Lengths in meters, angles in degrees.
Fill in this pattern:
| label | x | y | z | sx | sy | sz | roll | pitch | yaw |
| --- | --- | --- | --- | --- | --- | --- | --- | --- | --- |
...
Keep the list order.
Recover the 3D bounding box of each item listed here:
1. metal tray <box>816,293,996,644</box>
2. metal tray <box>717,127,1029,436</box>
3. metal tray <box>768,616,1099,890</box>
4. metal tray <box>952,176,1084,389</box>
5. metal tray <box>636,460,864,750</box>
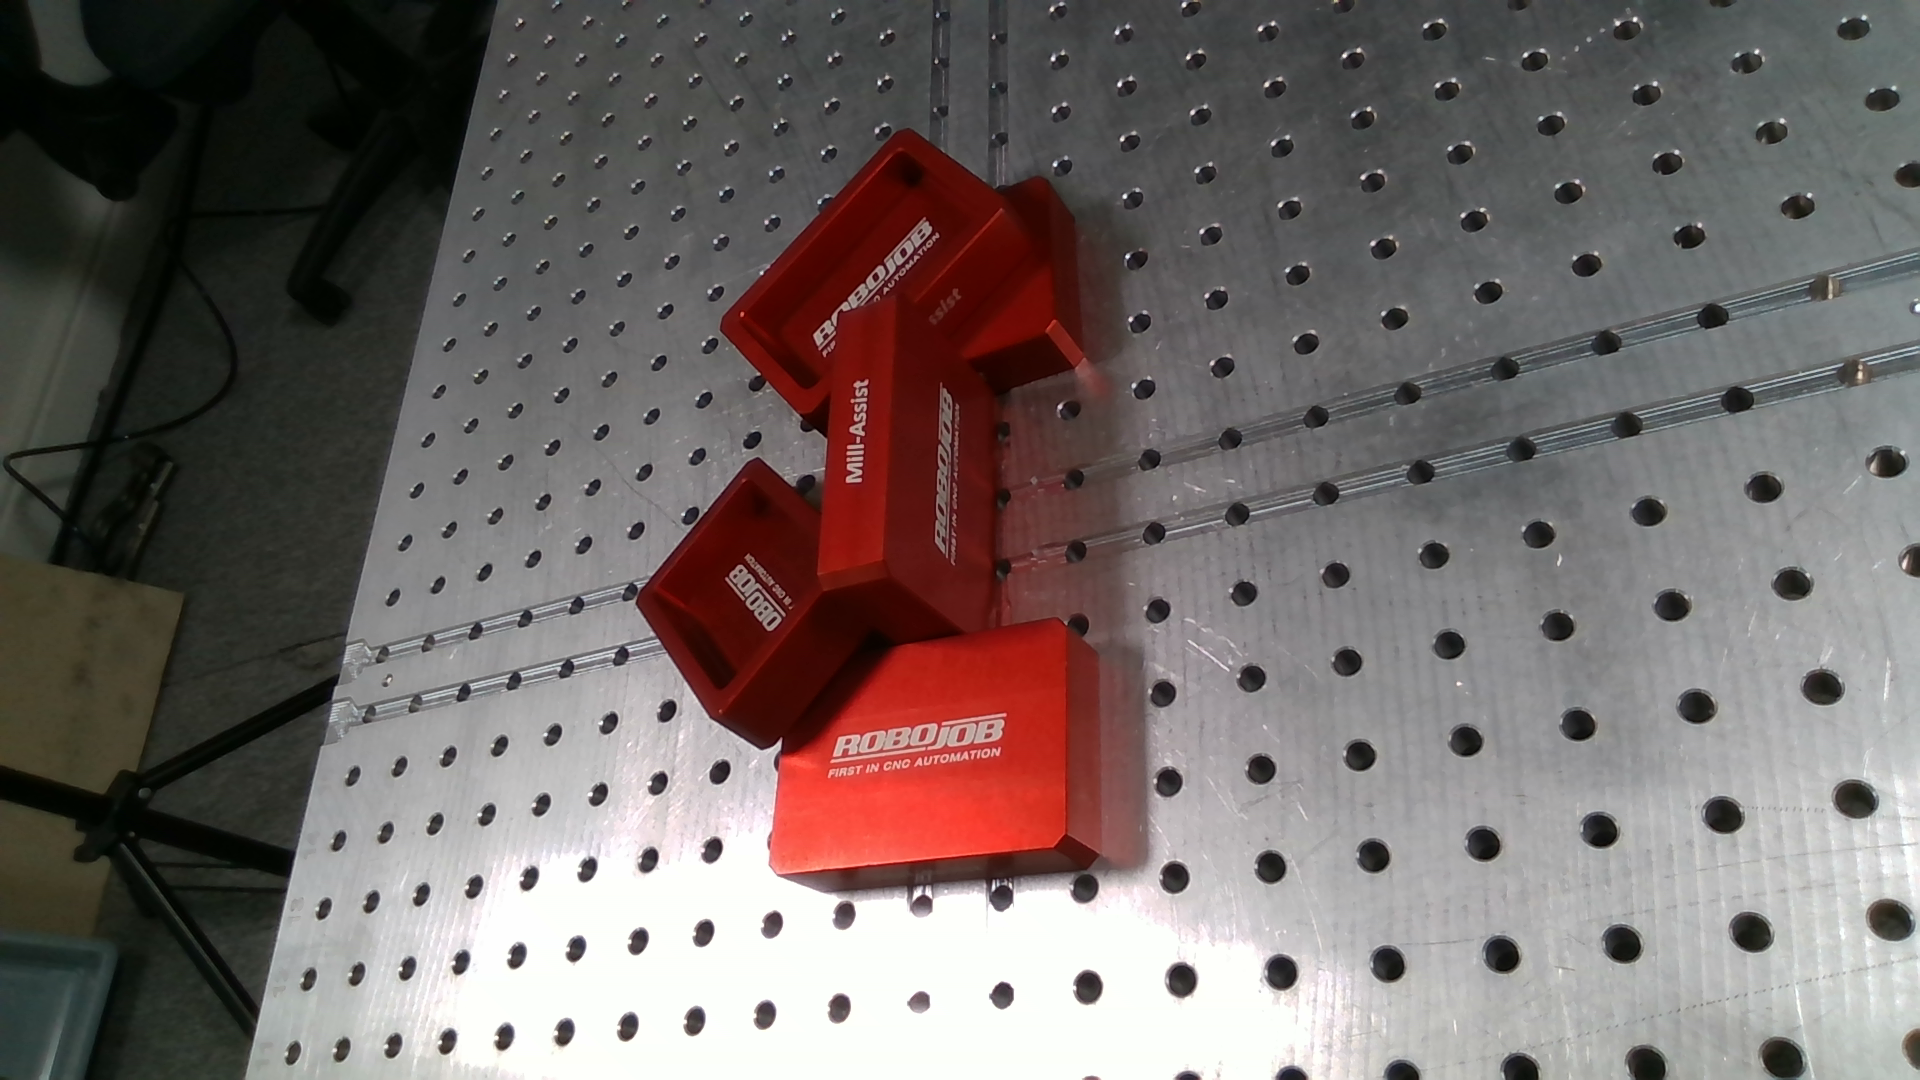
| label | x | y | z | sx | sy | sz | roll | pitch | yaw |
| --- | --- | --- | --- | --- | --- | --- | --- | --- | --- |
| metal tray | -0.019 | -0.025 | 0.570 | 0.030 | 0.090 | 0.130 | -13 | 59 | 26 |
| metal tray | -0.042 | -0.118 | 0.633 | 0.130 | 0.030 | 0.090 | -46 | 51 | 3 |
| metal tray | -0.011 | 0.086 | 0.545 | 0.130 | 0.030 | 0.090 | -12 | 60 | 26 |
| metal tray | -0.009 | -0.108 | 0.648 | 0.130 | 0.030 | 0.090 | -16 | 58 | 25 |
| metal tray | -0.089 | 0.024 | 0.603 | 0.090 | 0.030 | 0.130 | -51 | 34 | -1 |
